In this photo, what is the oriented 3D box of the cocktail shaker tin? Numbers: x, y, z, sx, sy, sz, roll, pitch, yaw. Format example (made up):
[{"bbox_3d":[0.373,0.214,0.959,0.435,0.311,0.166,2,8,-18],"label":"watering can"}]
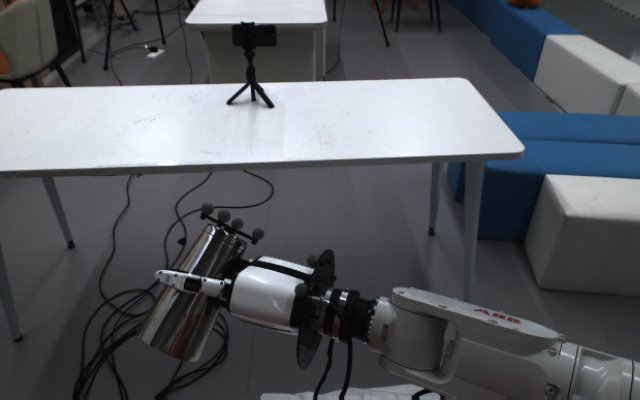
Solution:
[{"bbox_3d":[-0.167,0.121,0.668,0.093,0.093,0.170,22,81,26],"label":"cocktail shaker tin"}]
